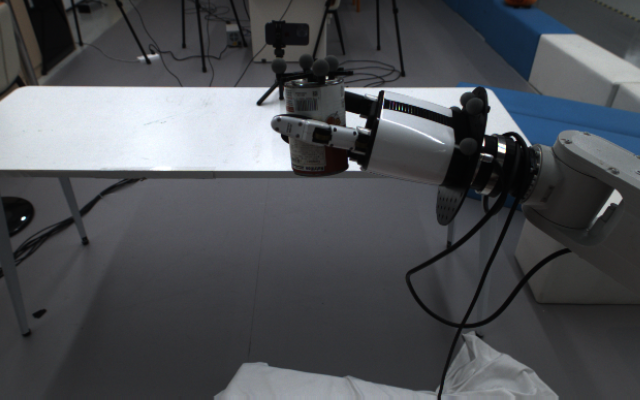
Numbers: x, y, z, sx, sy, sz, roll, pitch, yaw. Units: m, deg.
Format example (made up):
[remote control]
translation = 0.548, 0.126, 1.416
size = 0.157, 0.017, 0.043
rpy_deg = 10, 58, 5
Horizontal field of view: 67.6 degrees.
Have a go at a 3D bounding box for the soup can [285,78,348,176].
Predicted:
[soup can]
translation = -0.002, -0.085, 0.547
size = 0.067, 0.101, 0.067
rpy_deg = -4, 21, 1
